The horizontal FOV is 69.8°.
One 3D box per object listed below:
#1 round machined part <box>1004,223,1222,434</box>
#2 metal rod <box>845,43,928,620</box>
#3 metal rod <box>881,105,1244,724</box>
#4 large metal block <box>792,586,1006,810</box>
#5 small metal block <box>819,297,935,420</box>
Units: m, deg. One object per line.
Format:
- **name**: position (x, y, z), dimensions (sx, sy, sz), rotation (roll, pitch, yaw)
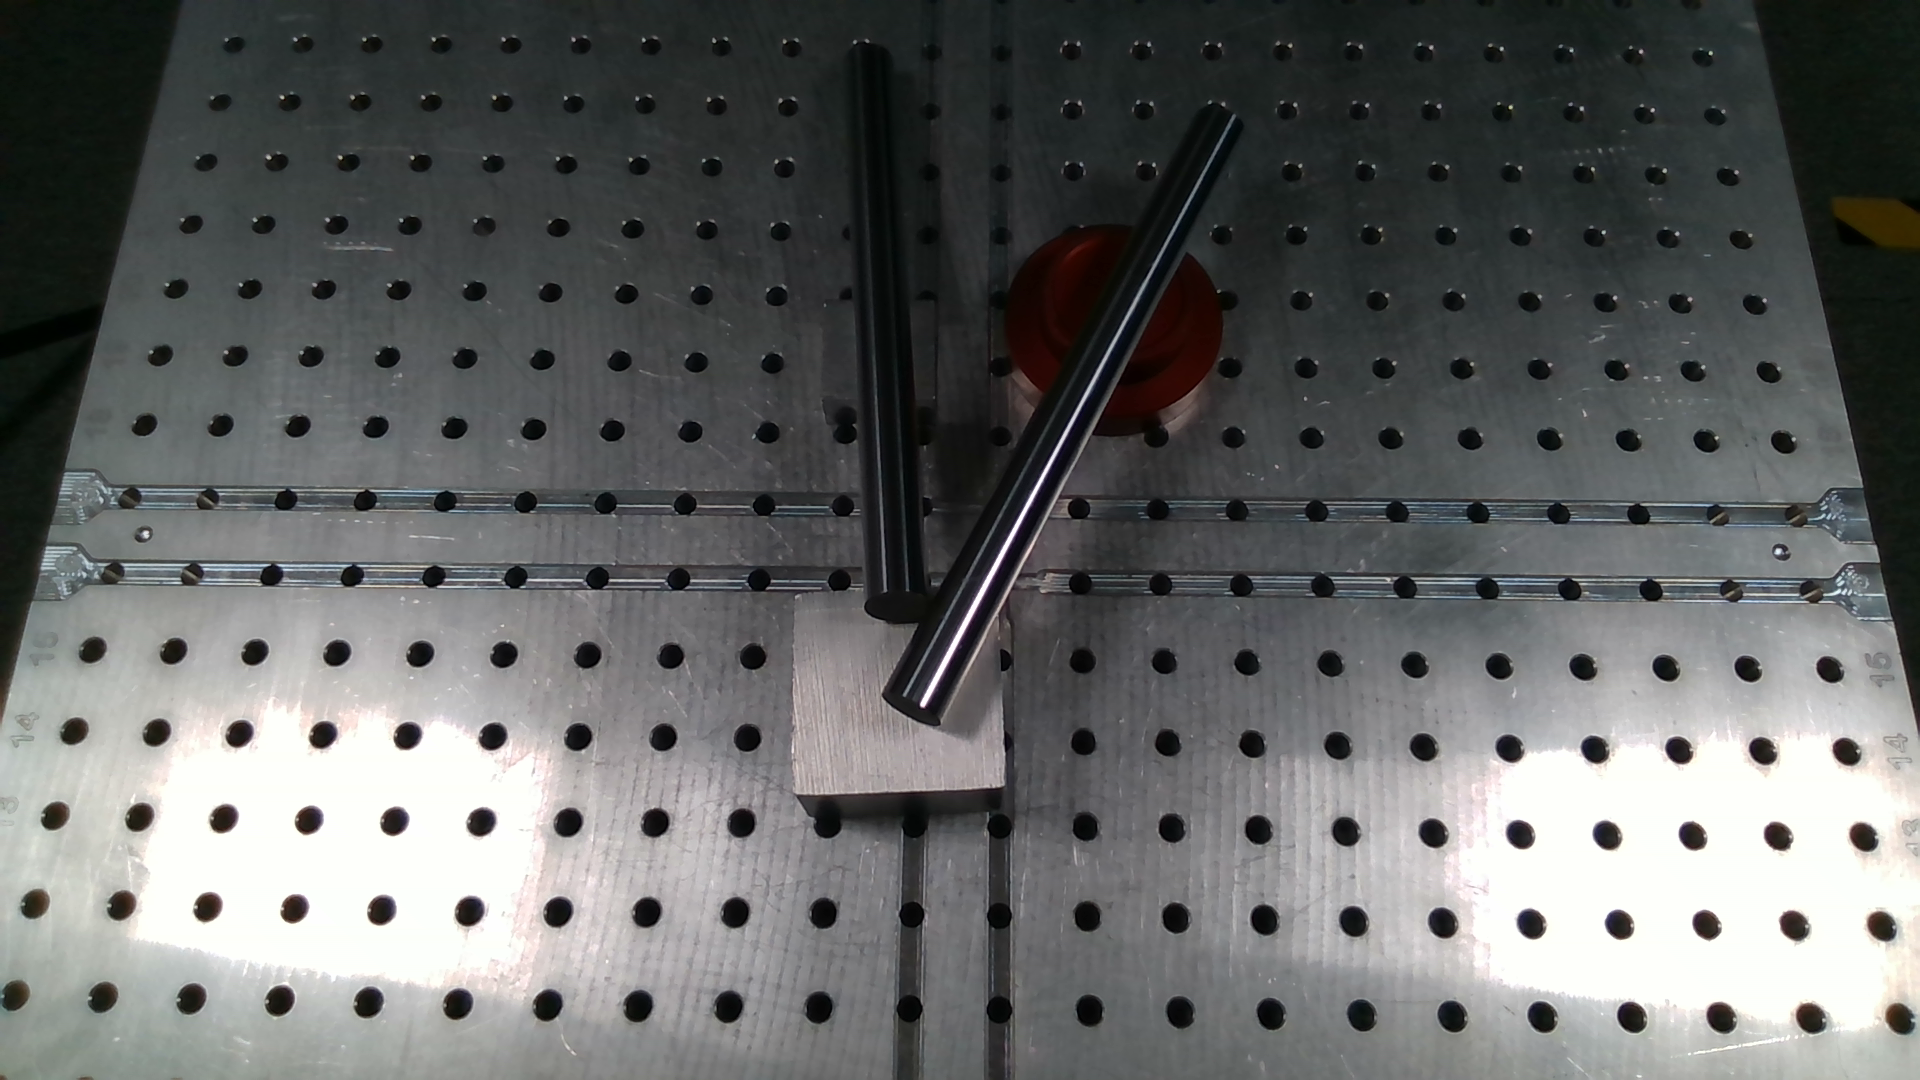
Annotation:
- **round machined part**: position (0.069, -0.101, 0.617), dimensions (0.098, 0.042, 0.098), rotation (0, 70, 0)
- **metal rod**: position (-0.034, -0.104, 0.599), dimensions (0.025, 0.025, 0.299), rotation (-4, 60, -1)
- **metal rod**: position (0.048, -0.061, 0.561), dimensions (0.025, 0.025, 0.299), rotation (25, 69, 9)
- **large metal block**: position (-0.024, 0.065, 0.551), dimensions (0.080, 0.050, 0.080), rotation (-2, 70, -1)
- **small metal block**: position (-0.037, -0.081, 0.620), dimensions (0.050, 0.025, 0.050), rotation (0, 70, 0)
